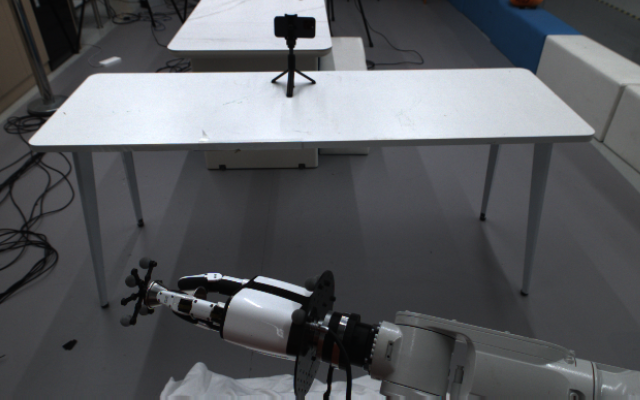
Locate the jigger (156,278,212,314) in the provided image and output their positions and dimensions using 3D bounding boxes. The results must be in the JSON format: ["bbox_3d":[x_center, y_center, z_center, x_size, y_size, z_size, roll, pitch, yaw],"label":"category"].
[{"bbox_3d":[-0.188,0.131,0.654,0.071,0.043,0.043,7,35,13],"label":"jigger"}]
